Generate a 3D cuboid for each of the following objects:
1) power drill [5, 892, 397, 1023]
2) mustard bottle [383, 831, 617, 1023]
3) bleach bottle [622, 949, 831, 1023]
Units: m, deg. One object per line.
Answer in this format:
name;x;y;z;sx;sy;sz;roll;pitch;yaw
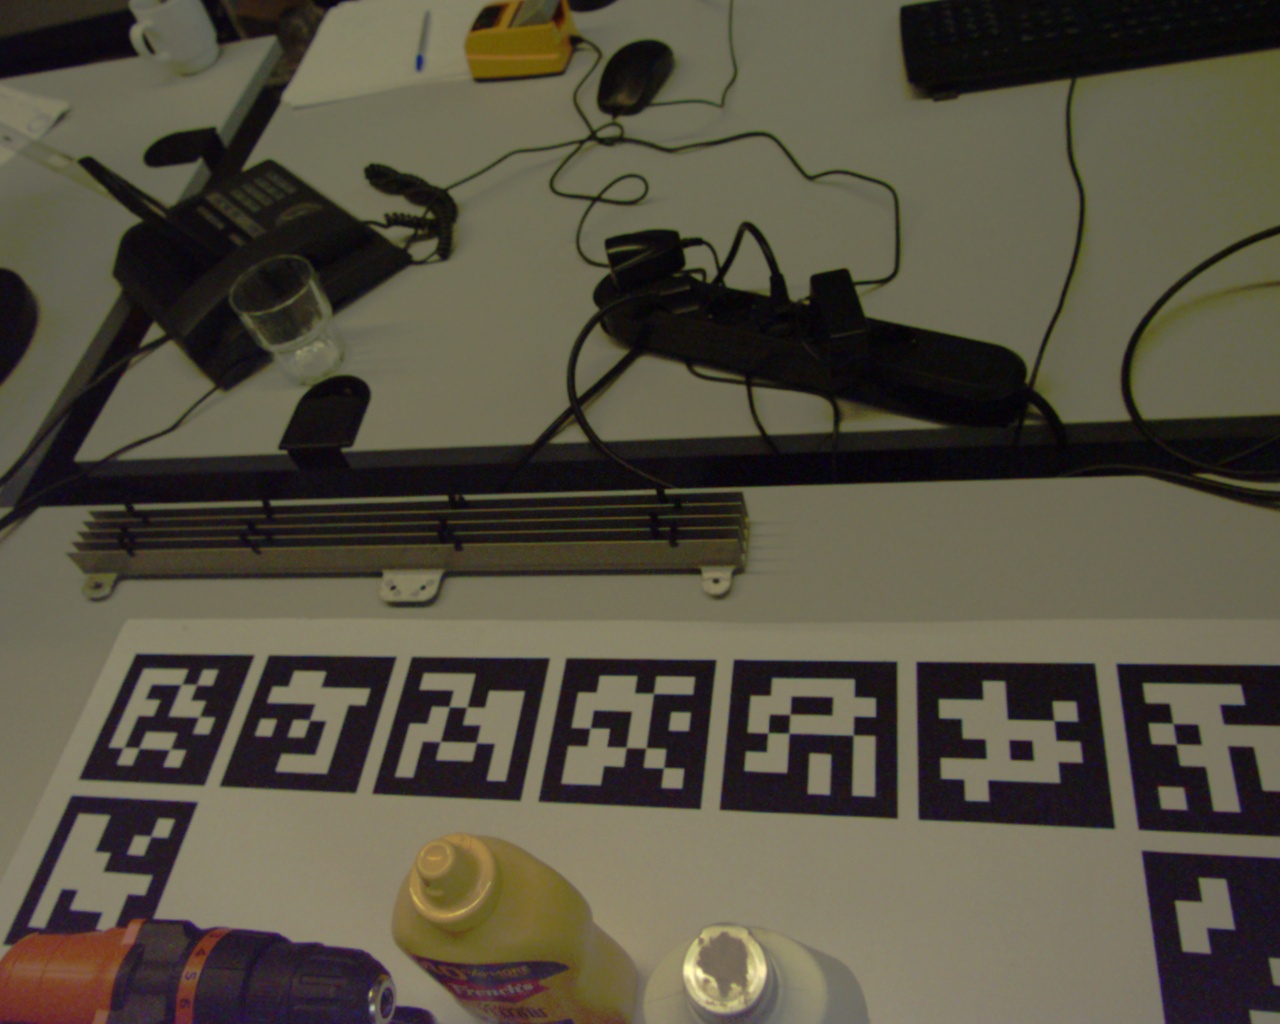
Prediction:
power drill;-0.188;0.249;0.559;0.185;0.186;0.057;-2;46;11
mustard bottle;-0.077;0.210;0.580;0.097;0.190;0.058;0;53;14
bleach bottle;0.037;0.242;0.495;0.103;0.248;0.068;-7;52;10
